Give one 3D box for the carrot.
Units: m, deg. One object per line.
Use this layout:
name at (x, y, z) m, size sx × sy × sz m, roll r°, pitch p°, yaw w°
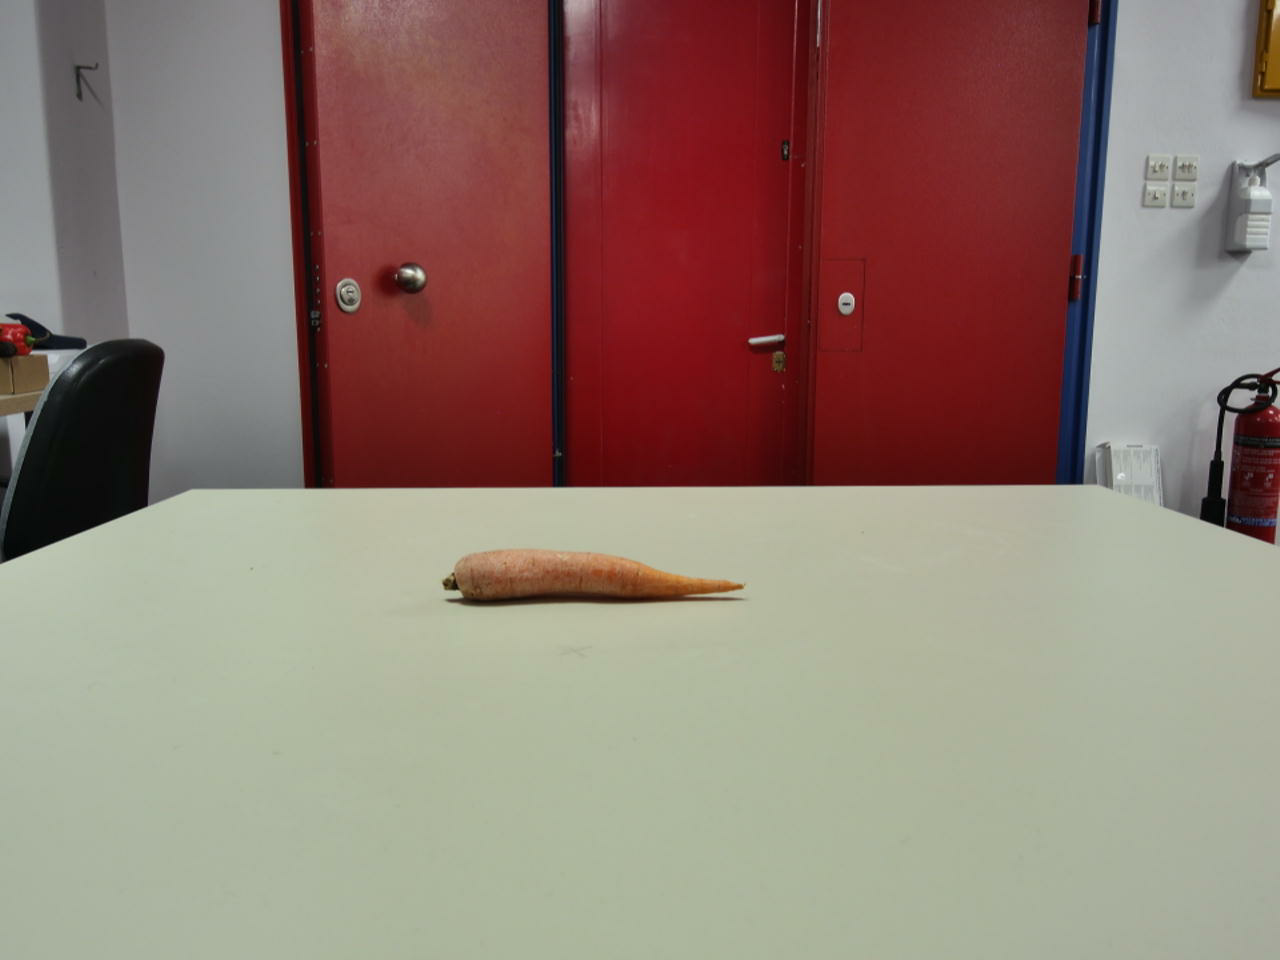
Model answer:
carrot at (-0.026, 0.052, 0.547) m, size 0.163 × 0.029 × 0.031 m, roll 0°, pitch 7°, yaw -1°
